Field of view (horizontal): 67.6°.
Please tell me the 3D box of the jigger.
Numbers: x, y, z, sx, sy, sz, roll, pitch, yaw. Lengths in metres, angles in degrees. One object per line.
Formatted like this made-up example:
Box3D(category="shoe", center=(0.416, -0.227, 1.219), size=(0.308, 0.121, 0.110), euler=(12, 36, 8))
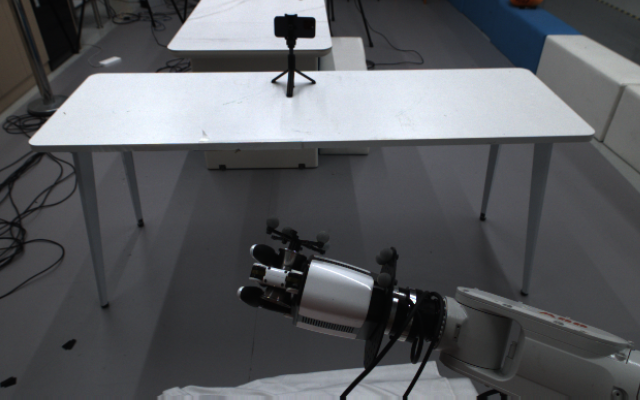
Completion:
Box3D(category="jigger", center=(-0.043, 0.102, 0.634), size=(0.043, 0.043, 0.071), euler=(12, 70, 14))
